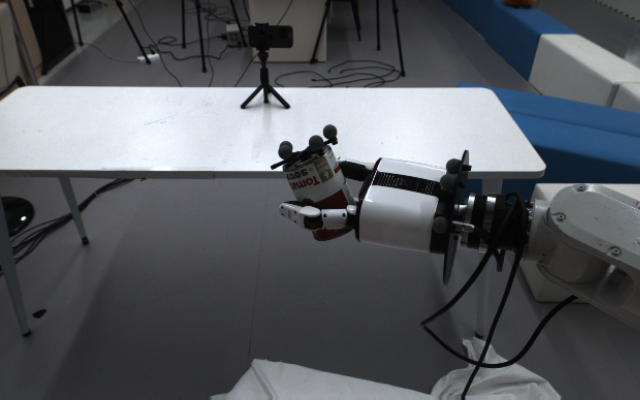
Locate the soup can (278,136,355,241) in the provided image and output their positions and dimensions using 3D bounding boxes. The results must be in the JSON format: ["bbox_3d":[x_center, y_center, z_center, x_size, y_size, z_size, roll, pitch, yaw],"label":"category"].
[{"bbox_3d":[0.005,-0.009,0.608,0.067,0.101,0.067,-23,16,7],"label":"soup can"}]
